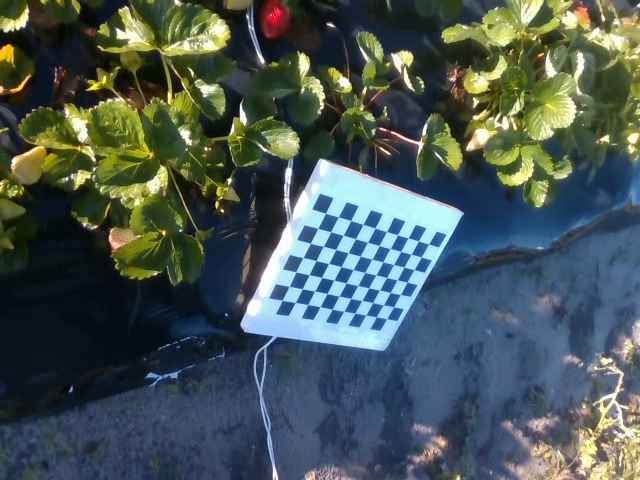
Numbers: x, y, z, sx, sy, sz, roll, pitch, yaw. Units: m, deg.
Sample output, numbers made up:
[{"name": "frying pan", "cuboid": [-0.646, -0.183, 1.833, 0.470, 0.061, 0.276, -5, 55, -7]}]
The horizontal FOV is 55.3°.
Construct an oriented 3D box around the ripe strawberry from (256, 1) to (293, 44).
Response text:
[{"name": "ripe strawberry", "cuboid": [-0.063, -0.330, 0.917, 0.040, 0.080, 0.063, -6, -38, 31]}]
